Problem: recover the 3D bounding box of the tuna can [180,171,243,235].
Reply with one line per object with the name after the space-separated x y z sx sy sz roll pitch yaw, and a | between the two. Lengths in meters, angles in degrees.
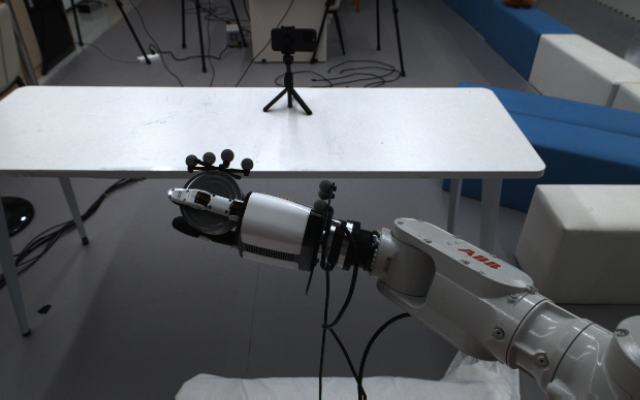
-0.146 0.005 0.667 0.085 0.034 0.085 -1 76 3 | tuna can
